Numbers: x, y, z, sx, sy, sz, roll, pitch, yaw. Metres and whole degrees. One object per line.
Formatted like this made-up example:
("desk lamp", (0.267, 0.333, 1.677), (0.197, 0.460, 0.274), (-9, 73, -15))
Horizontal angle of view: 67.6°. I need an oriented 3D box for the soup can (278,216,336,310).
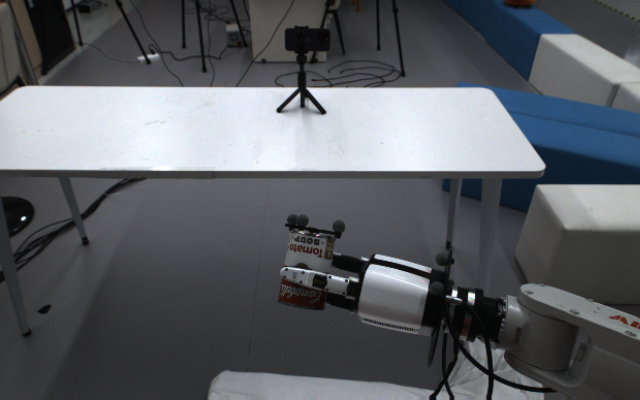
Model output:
("soup can", (-0.016, 0.097, 0.679), (0.067, 0.101, 0.067), (9, -5, 1))
